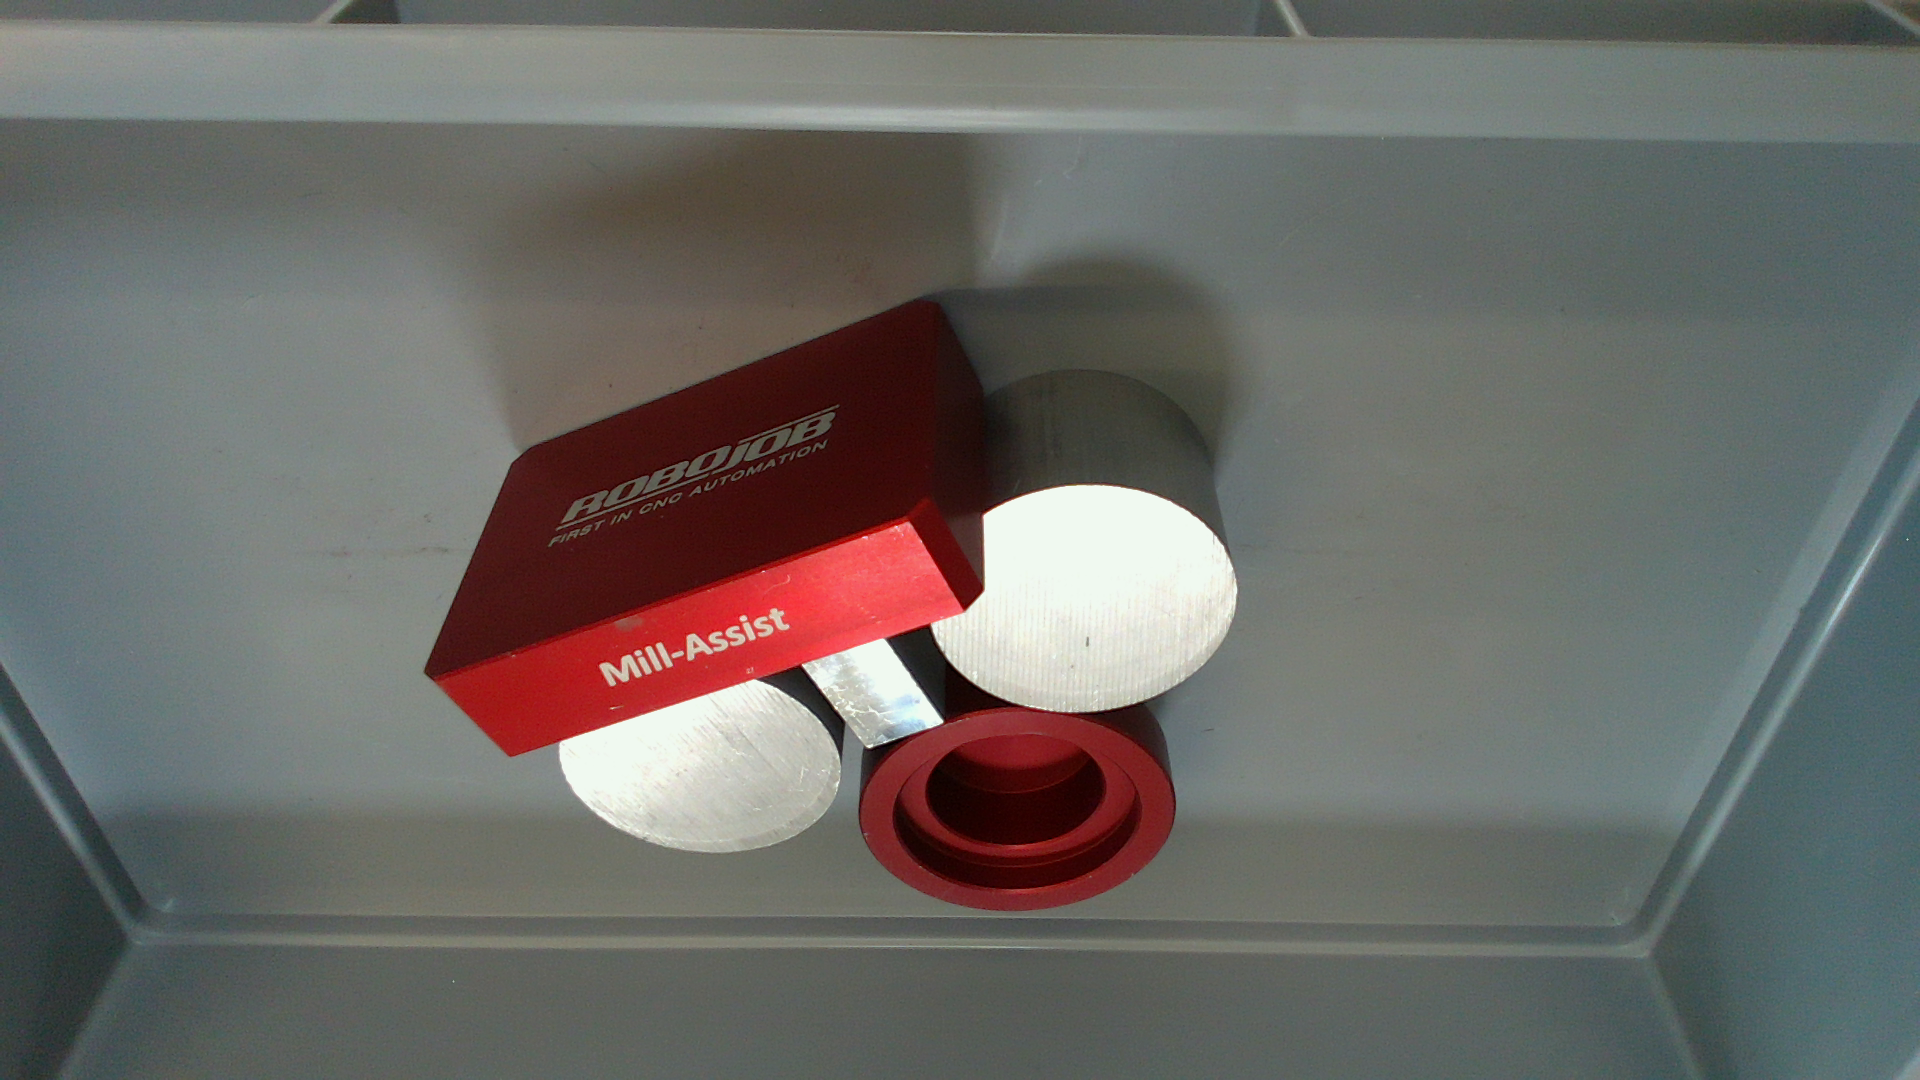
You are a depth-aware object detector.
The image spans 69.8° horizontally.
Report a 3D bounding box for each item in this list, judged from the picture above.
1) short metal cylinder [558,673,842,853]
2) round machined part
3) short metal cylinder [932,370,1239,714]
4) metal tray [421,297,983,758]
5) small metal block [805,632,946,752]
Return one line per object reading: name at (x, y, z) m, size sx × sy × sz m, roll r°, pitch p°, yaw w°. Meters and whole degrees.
short metal cylinder at (-0.074, 0.049, 0.413) m, size 0.080 × 0.050 × 0.080 m, roll 0°, pitch 130°, yaw 0°
round machined part at (0.017, 0.072, 0.439) m, size 0.098 × 0.042 × 0.098 m, roll 0°, pitch 130°, yaw 0°
short metal cylinder at (0.032, 0.001, 0.374) m, size 0.080 × 0.050 × 0.080 m, roll 0°, pitch 130°, yaw 0°
metal tray at (-0.060, -0.005, 0.341) m, size 0.130 × 0.090 × 0.030 m, roll -18°, pitch 128°, yaw 15°
small metal block at (-0.026, 0.022, 0.391) m, size 0.025 × 0.050 × 0.050 m, roll -20°, pitch 127°, yaw 16°
